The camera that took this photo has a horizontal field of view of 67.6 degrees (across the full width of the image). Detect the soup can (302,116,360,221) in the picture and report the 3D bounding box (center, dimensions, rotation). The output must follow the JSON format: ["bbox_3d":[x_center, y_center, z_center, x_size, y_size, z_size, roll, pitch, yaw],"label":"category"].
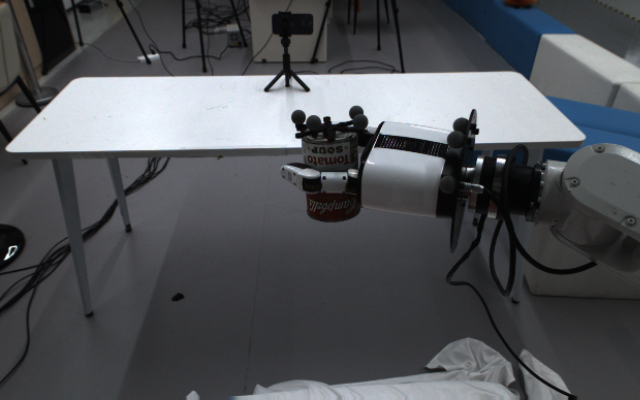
[{"bbox_3d":[0.016,-0.033,0.584,0.067,0.101,0.067,-3,25,2],"label":"soup can"}]
